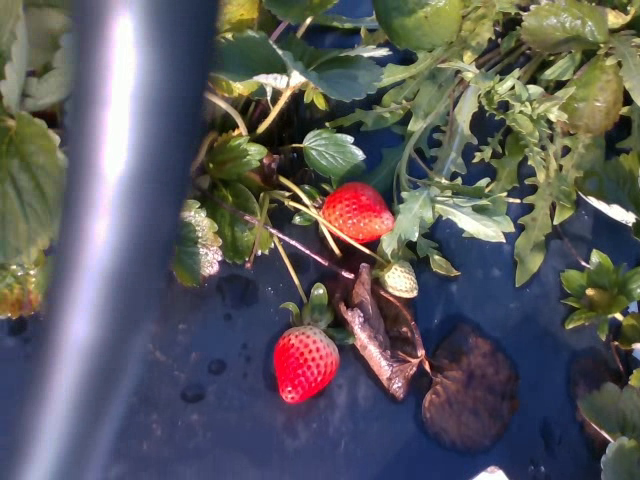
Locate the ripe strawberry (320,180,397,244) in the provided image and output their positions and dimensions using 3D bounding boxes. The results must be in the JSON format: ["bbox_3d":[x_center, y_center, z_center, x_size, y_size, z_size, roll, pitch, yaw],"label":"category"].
[{"bbox_3d":[0.023,-0.017,0.346,0.040,0.031,0.049,-44,29,-22],"label":"ripe strawberry"}]

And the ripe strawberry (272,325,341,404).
[{"bbox_3d":[-0.009,0.059,0.307,0.035,0.043,0.029,18,-32,7],"label":"ripe strawberry"}]
